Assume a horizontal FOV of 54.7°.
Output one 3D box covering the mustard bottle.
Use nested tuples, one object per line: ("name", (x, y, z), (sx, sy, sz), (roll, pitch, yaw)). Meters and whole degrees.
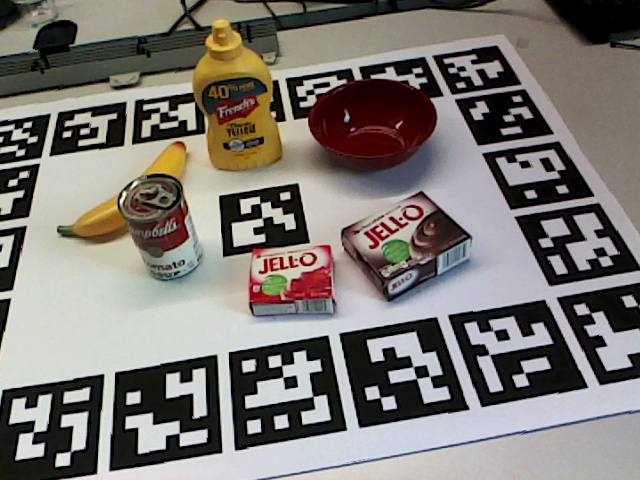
("mustard bottle", (-0.105, -0.177, 0.752), (0.096, 0.191, 0.059), (-9, 45, -3))

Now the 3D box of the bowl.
("bowl", (0.071, -0.139, 0.809), (0.162, 0.055, 0.162), (-4, 47, 4))

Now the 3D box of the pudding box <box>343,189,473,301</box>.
("pudding box", (0.096, 0.003, 0.685), (0.113, 0.038, 0.090), (-28, 57, -18))

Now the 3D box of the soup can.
("soup can", (-0.180, -0.017, 0.678), (0.068, 0.102, 0.068), (-2, 46, 2))

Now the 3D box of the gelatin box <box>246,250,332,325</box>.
("gelatin box", (-0.033, 0.050, 0.663), (0.089, 0.030, 0.073), (-5, 51, 2))

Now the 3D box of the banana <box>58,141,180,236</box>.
("banana", (-0.236, -0.064, 0.782), (0.075, 0.038, 0.197), (17, 51, 32))
